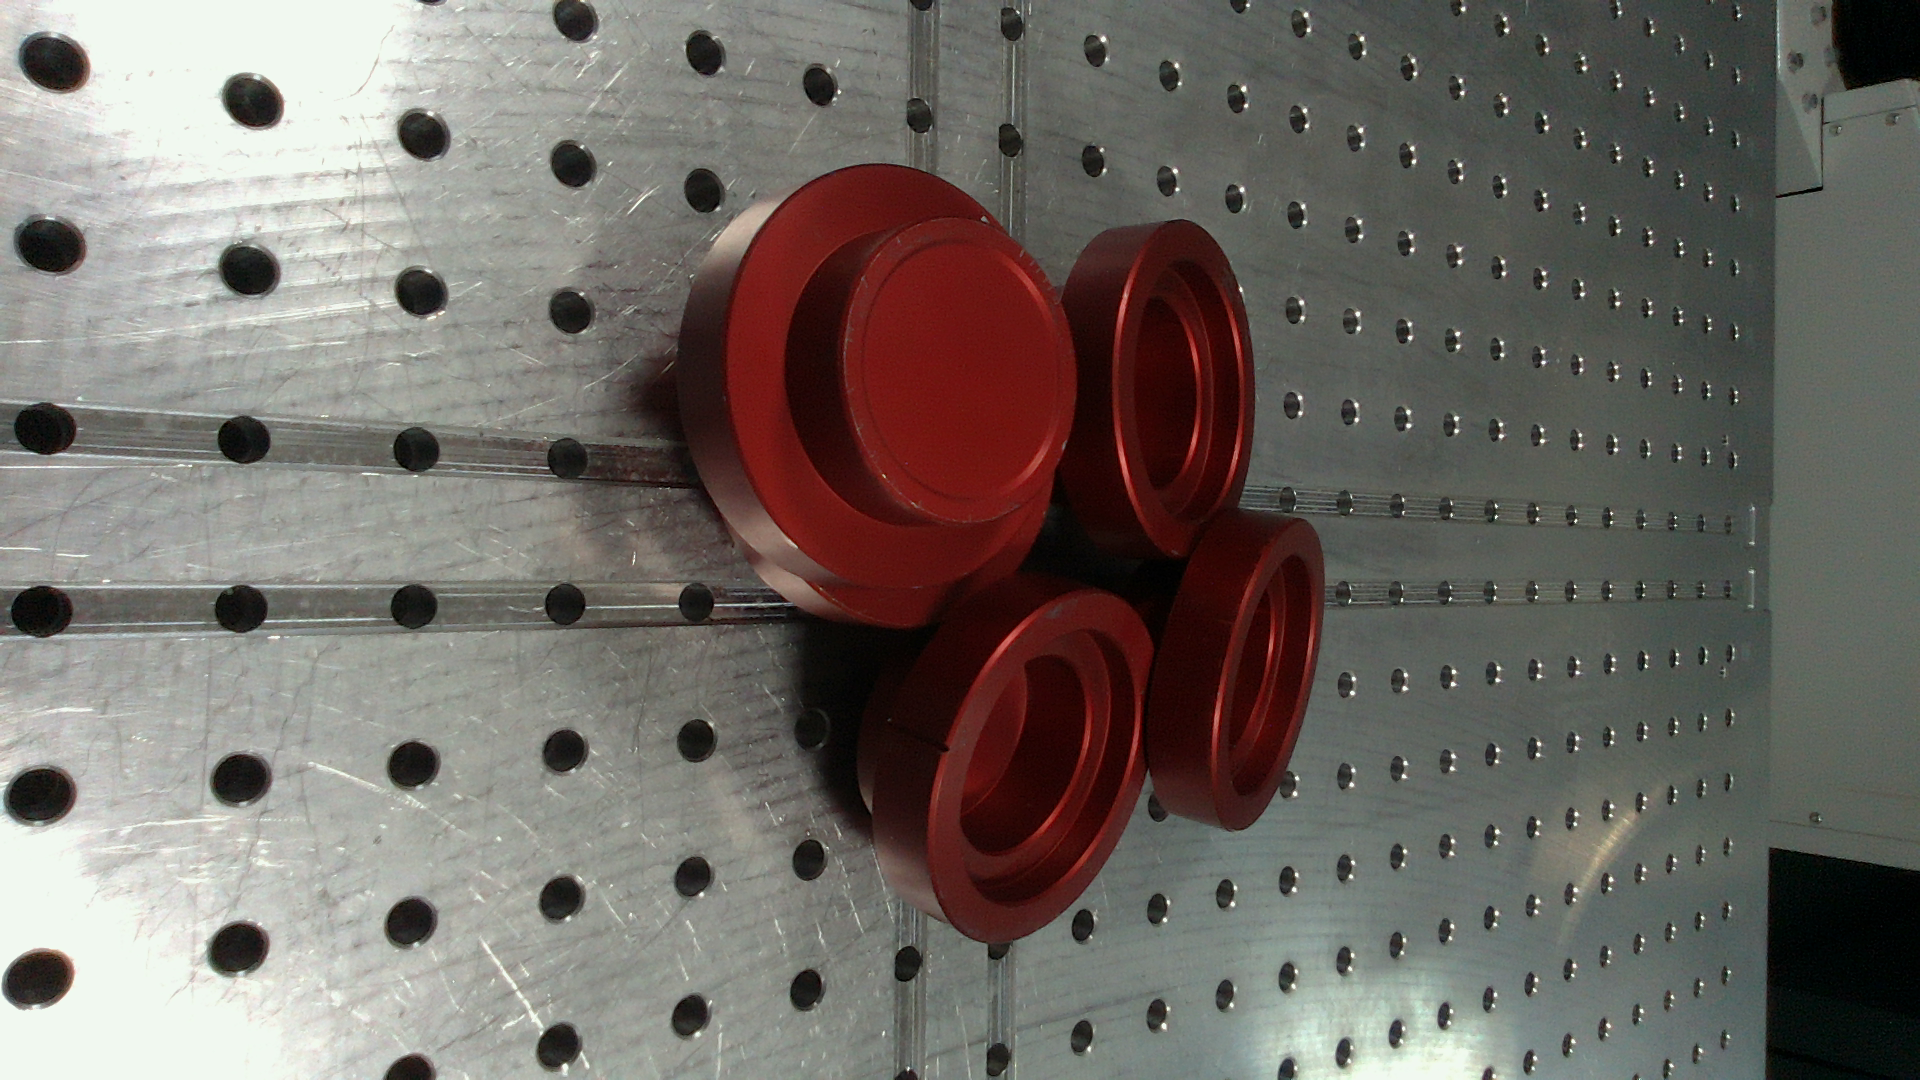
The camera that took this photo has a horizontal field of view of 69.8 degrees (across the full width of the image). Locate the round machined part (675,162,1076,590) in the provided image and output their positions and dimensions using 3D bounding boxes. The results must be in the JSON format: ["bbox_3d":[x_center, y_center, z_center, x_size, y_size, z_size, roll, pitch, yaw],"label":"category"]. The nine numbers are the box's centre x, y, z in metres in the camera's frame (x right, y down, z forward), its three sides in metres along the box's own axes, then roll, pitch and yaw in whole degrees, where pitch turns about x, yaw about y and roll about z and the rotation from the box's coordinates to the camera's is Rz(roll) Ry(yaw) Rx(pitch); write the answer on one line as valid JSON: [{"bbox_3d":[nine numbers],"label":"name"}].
[{"bbox_3d":[-0.012,-0.037,0.316,0.098,0.042,0.098,0,90,-40],"label":"round machined part"}]

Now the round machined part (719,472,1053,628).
[{"bbox_3d":[-0.024,-0.027,0.360,0.098,0.042,0.098,0,90,-40],"label":"round machined part"}]

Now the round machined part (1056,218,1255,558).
[{"bbox_3d":[0.050,-0.044,0.411,0.098,0.042,0.098,-3,93,-56],"label":"round machined part"}]

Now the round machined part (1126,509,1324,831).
[{"bbox_3d":[0.078,0.037,0.431,0.098,0.042,0.098,-30,126,-54],"label":"round machined part"}]

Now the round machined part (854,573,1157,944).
[{"bbox_3d":[0.009,0.056,0.377,0.098,0.042,0.098,-22,120,-44],"label":"round machined part"}]
